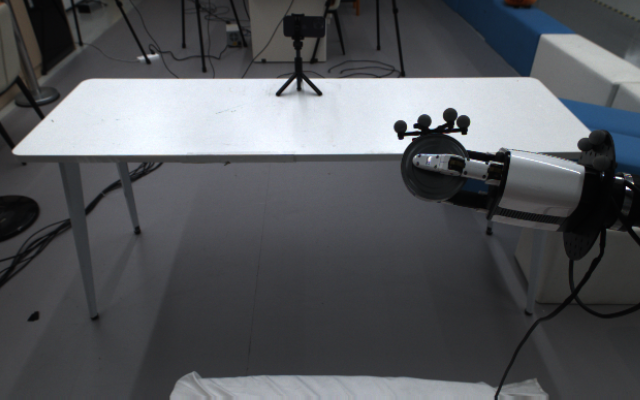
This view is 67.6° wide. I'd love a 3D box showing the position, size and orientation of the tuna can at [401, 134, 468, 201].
[{"bbox_3d":[0.148,-0.042,0.624,0.085,0.085,0.034,10,-6,11],"label":"tuna can"}]
